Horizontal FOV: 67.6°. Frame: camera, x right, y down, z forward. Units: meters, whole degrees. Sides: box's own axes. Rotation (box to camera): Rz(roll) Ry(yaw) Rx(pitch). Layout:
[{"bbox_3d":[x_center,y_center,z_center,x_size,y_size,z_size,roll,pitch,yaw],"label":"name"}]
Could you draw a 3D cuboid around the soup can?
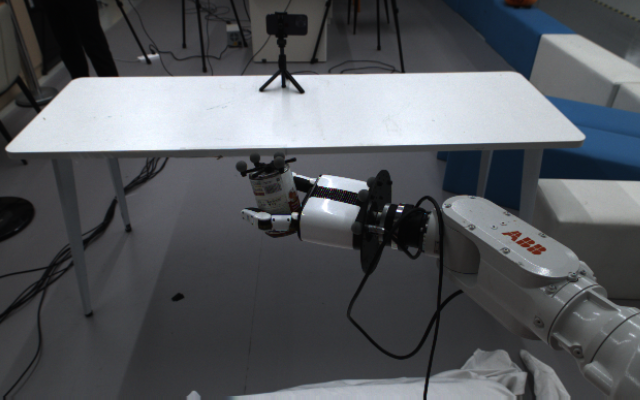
[{"bbox_3d":[-0.066,-0.001,0.760,0.067,0.101,0.067,-13,20,5],"label":"soup can"}]
